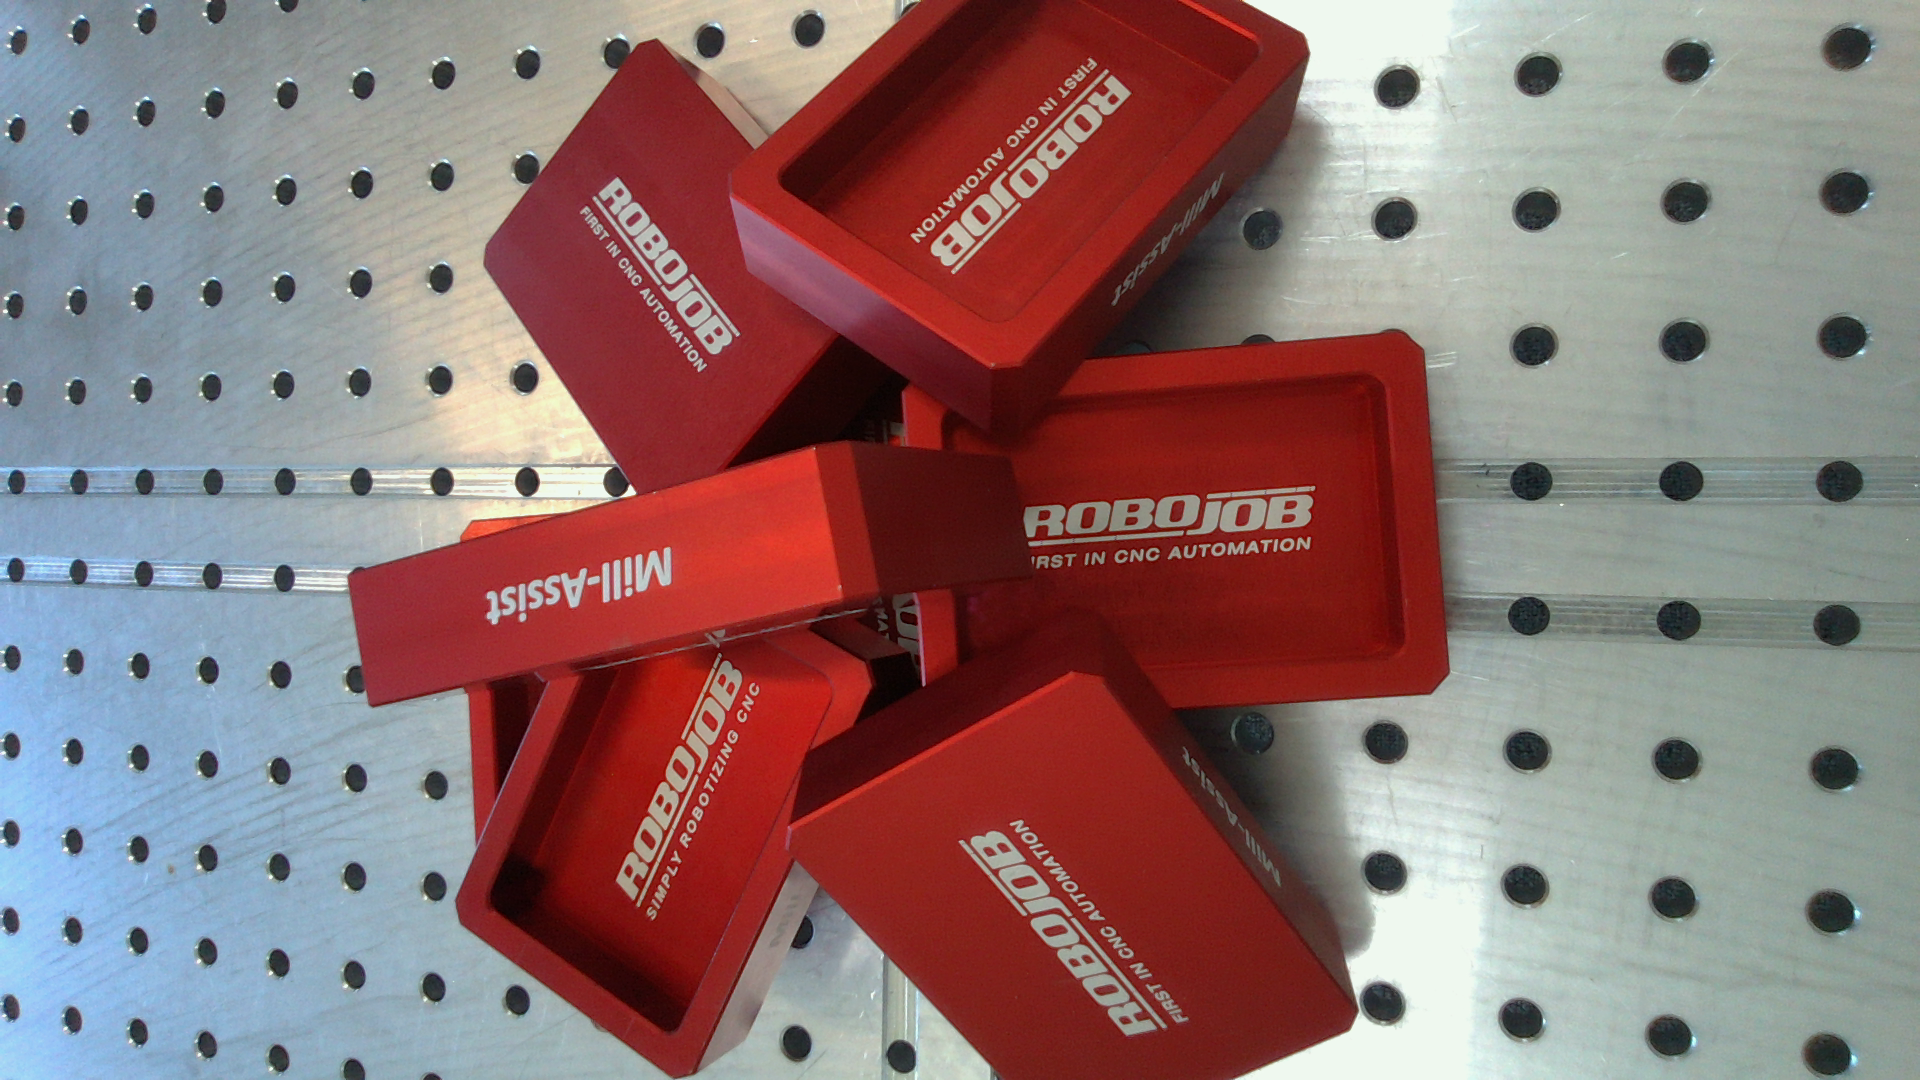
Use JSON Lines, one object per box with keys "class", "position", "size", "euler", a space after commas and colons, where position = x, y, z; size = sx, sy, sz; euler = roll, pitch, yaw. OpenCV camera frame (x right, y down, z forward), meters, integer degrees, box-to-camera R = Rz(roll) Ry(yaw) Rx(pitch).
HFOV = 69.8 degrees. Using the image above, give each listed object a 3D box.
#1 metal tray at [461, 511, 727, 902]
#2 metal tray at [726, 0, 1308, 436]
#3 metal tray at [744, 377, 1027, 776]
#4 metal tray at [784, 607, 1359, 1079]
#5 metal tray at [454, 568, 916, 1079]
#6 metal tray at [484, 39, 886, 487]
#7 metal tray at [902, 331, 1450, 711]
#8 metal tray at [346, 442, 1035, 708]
{"class": "metal tray", "position": [-0.109, 0.056, 0.435], "size": [0.090, 0.030, 0.130], "euler": [-5, 88, 19]}
{"class": "metal tray", "position": [0.016, -0.099, 0.354], "size": [0.090, 0.030, 0.130], "euler": [35, 69, 17]}
{"class": "metal tray", "position": [-0.019, 0.002, 0.402], "size": [0.090, 0.030, 0.130], "euler": [-5, 86, 18]}
{"class": "metal tray", "position": [0.030, 0.089, 0.350], "size": [0.090, 0.030, 0.130], "euler": [-31, 113, 18]}
{"class": "metal tray", "position": [-0.080, 0.072, 0.392], "size": [0.090, 0.030, 0.130], "euler": [28, 99, 18]}
{"class": "metal tray", "position": [-0.081, -0.075, 0.407], "size": [0.090, 0.030, 0.130], "euler": [-47, 60, 14]}
{"class": "metal tray", "position": [0.054, -0.002, 0.357], "size": [0.130, 0.030, 0.090], "euler": [-4, 89, 3]}
{"class": "metal tray", "position": [-0.059, 0.009, 0.316], "size": [0.130, 0.090, 0.030], "euler": [-13, 85, 24]}
